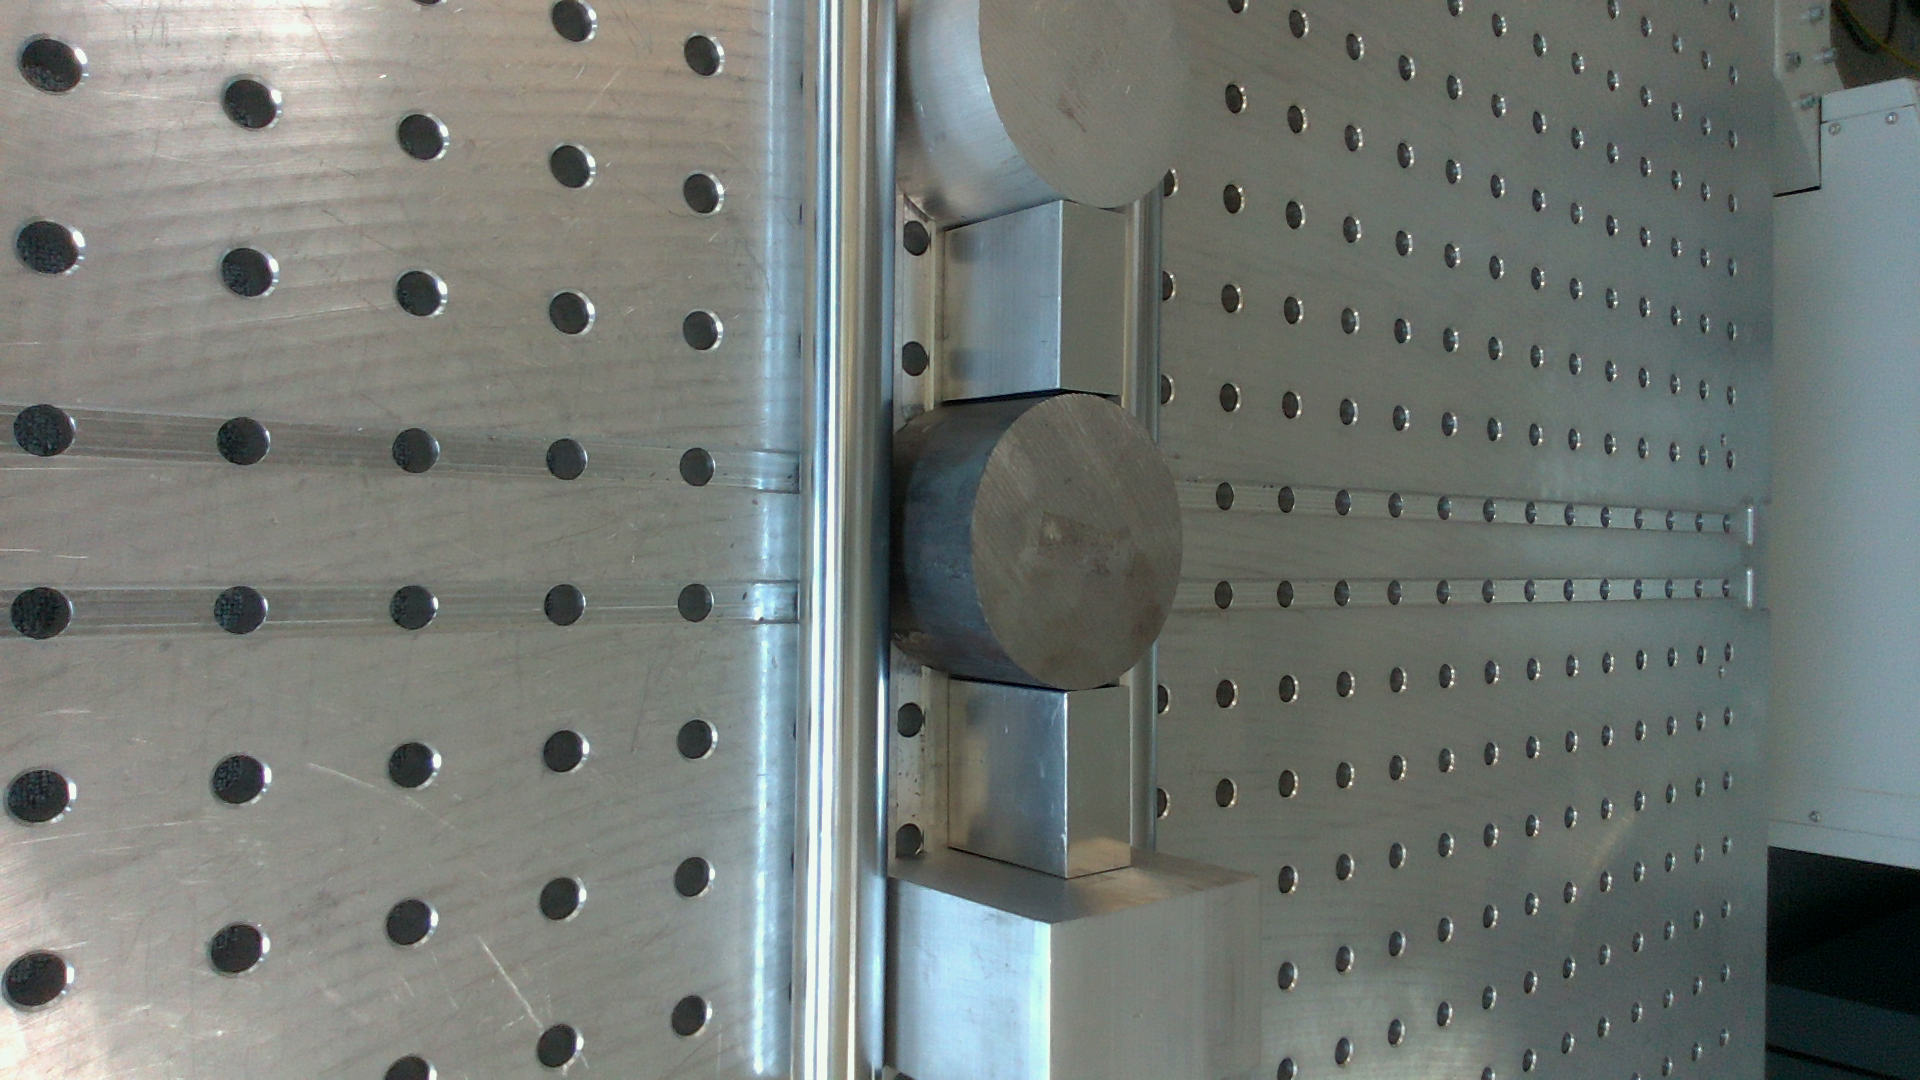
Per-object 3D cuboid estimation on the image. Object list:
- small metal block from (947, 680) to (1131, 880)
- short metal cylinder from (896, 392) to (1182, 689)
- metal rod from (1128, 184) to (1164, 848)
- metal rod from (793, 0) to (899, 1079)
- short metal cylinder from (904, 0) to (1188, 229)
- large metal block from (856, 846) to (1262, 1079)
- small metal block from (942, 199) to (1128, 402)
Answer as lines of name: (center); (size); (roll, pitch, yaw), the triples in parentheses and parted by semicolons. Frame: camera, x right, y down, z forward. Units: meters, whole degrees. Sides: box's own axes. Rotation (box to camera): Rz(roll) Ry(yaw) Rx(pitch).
small metal block: (0.022, 0.066, 0.393); (0.025, 0.050, 0.050); (0, 90, -40)
short metal cylinder: (0.017, 0.000, 0.390); (0.080, 0.050, 0.080); (0, 90, -40)
metal rod: (0.051, -0.006, 0.433); (0.025, 0.025, 0.300); (1, 89, -40)
metal rod: (-0.030, -0.006, 0.365); (0.025, 0.025, 0.300); (1, 89, -40)
short metal cylinder: (0.019, -0.130, 0.391); (0.080, 0.050, 0.080); (0, 90, -40)
large metal block: (0.025, 0.115, 0.377); (0.080, 0.080, 0.050); (1, 89, -40)
small metal block: (0.021, -0.065, 0.391); (0.025, 0.050, 0.050); (1, 89, -40)
